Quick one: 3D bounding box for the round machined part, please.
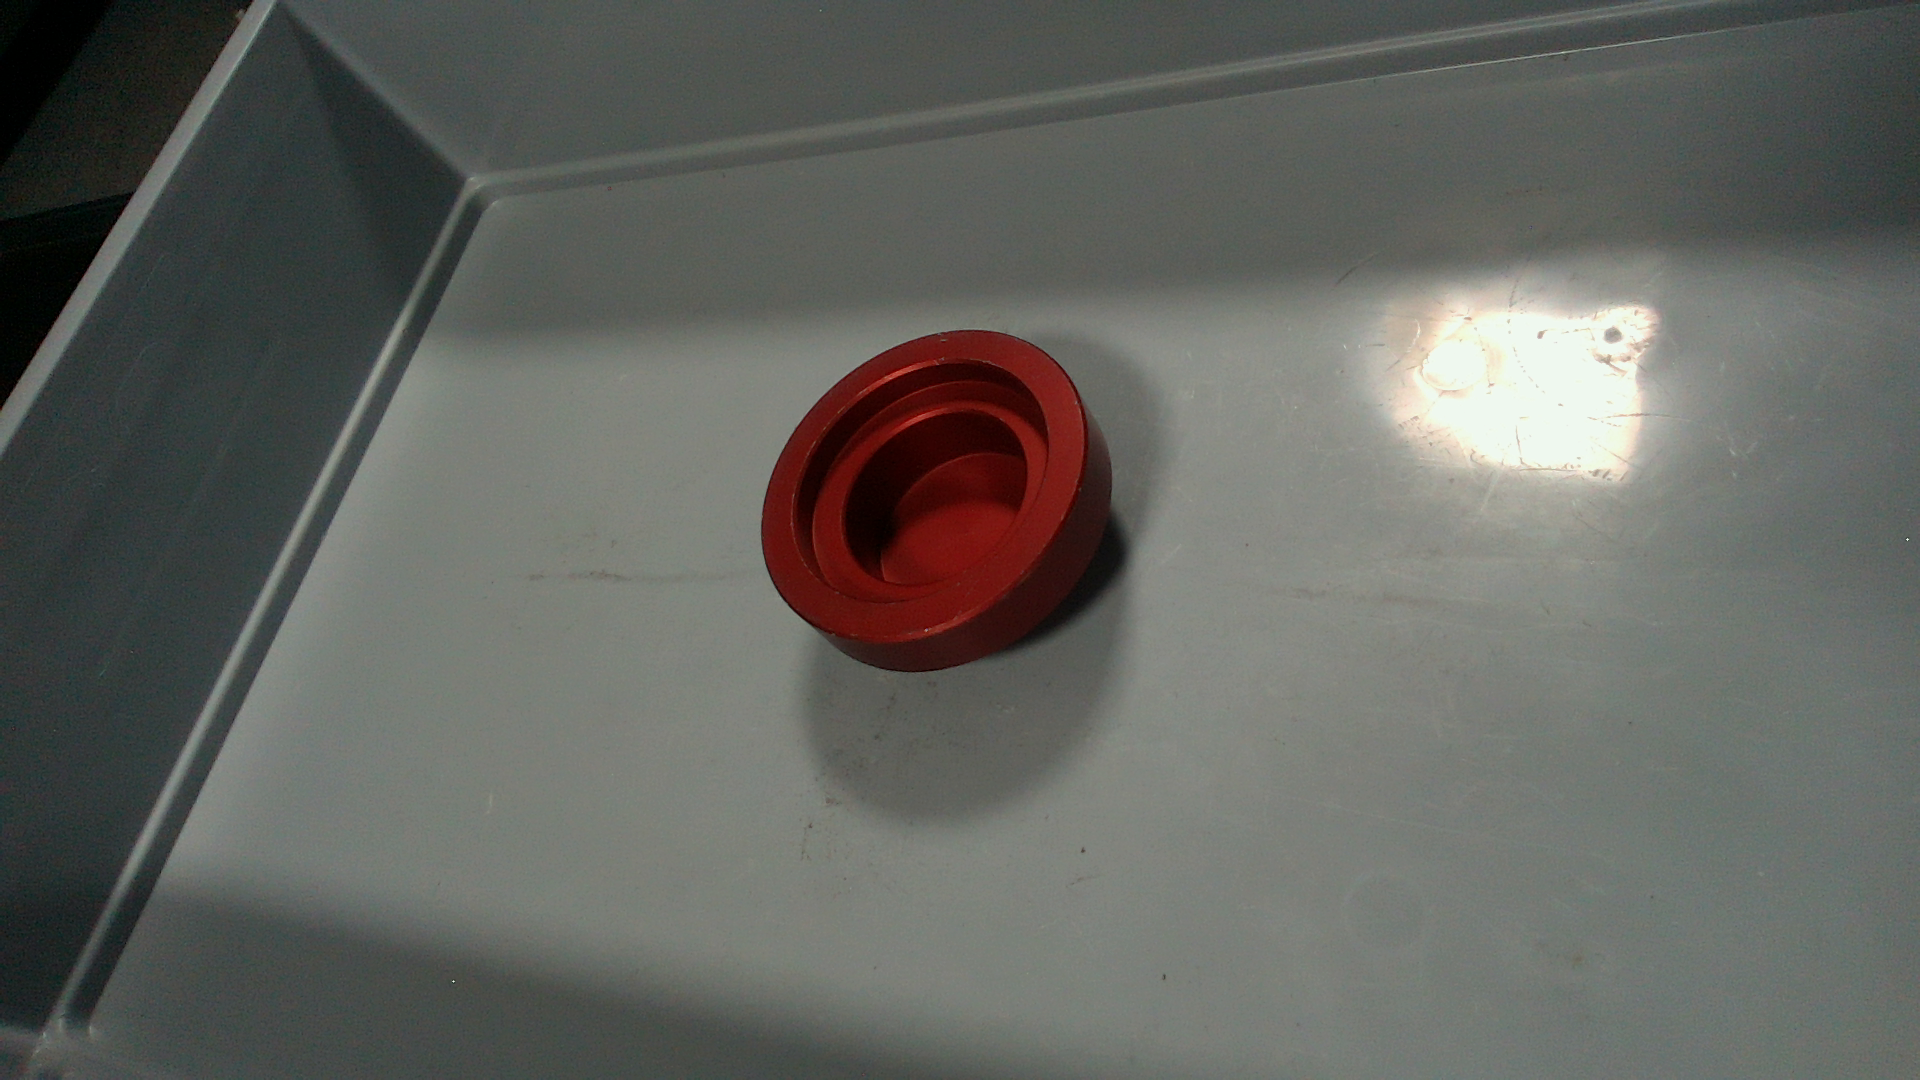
[{"bbox_3d":[-0.003,-0.008,0.385,0.098,0.042,0.098,-13,56,21],"label":"round machined part"}]
